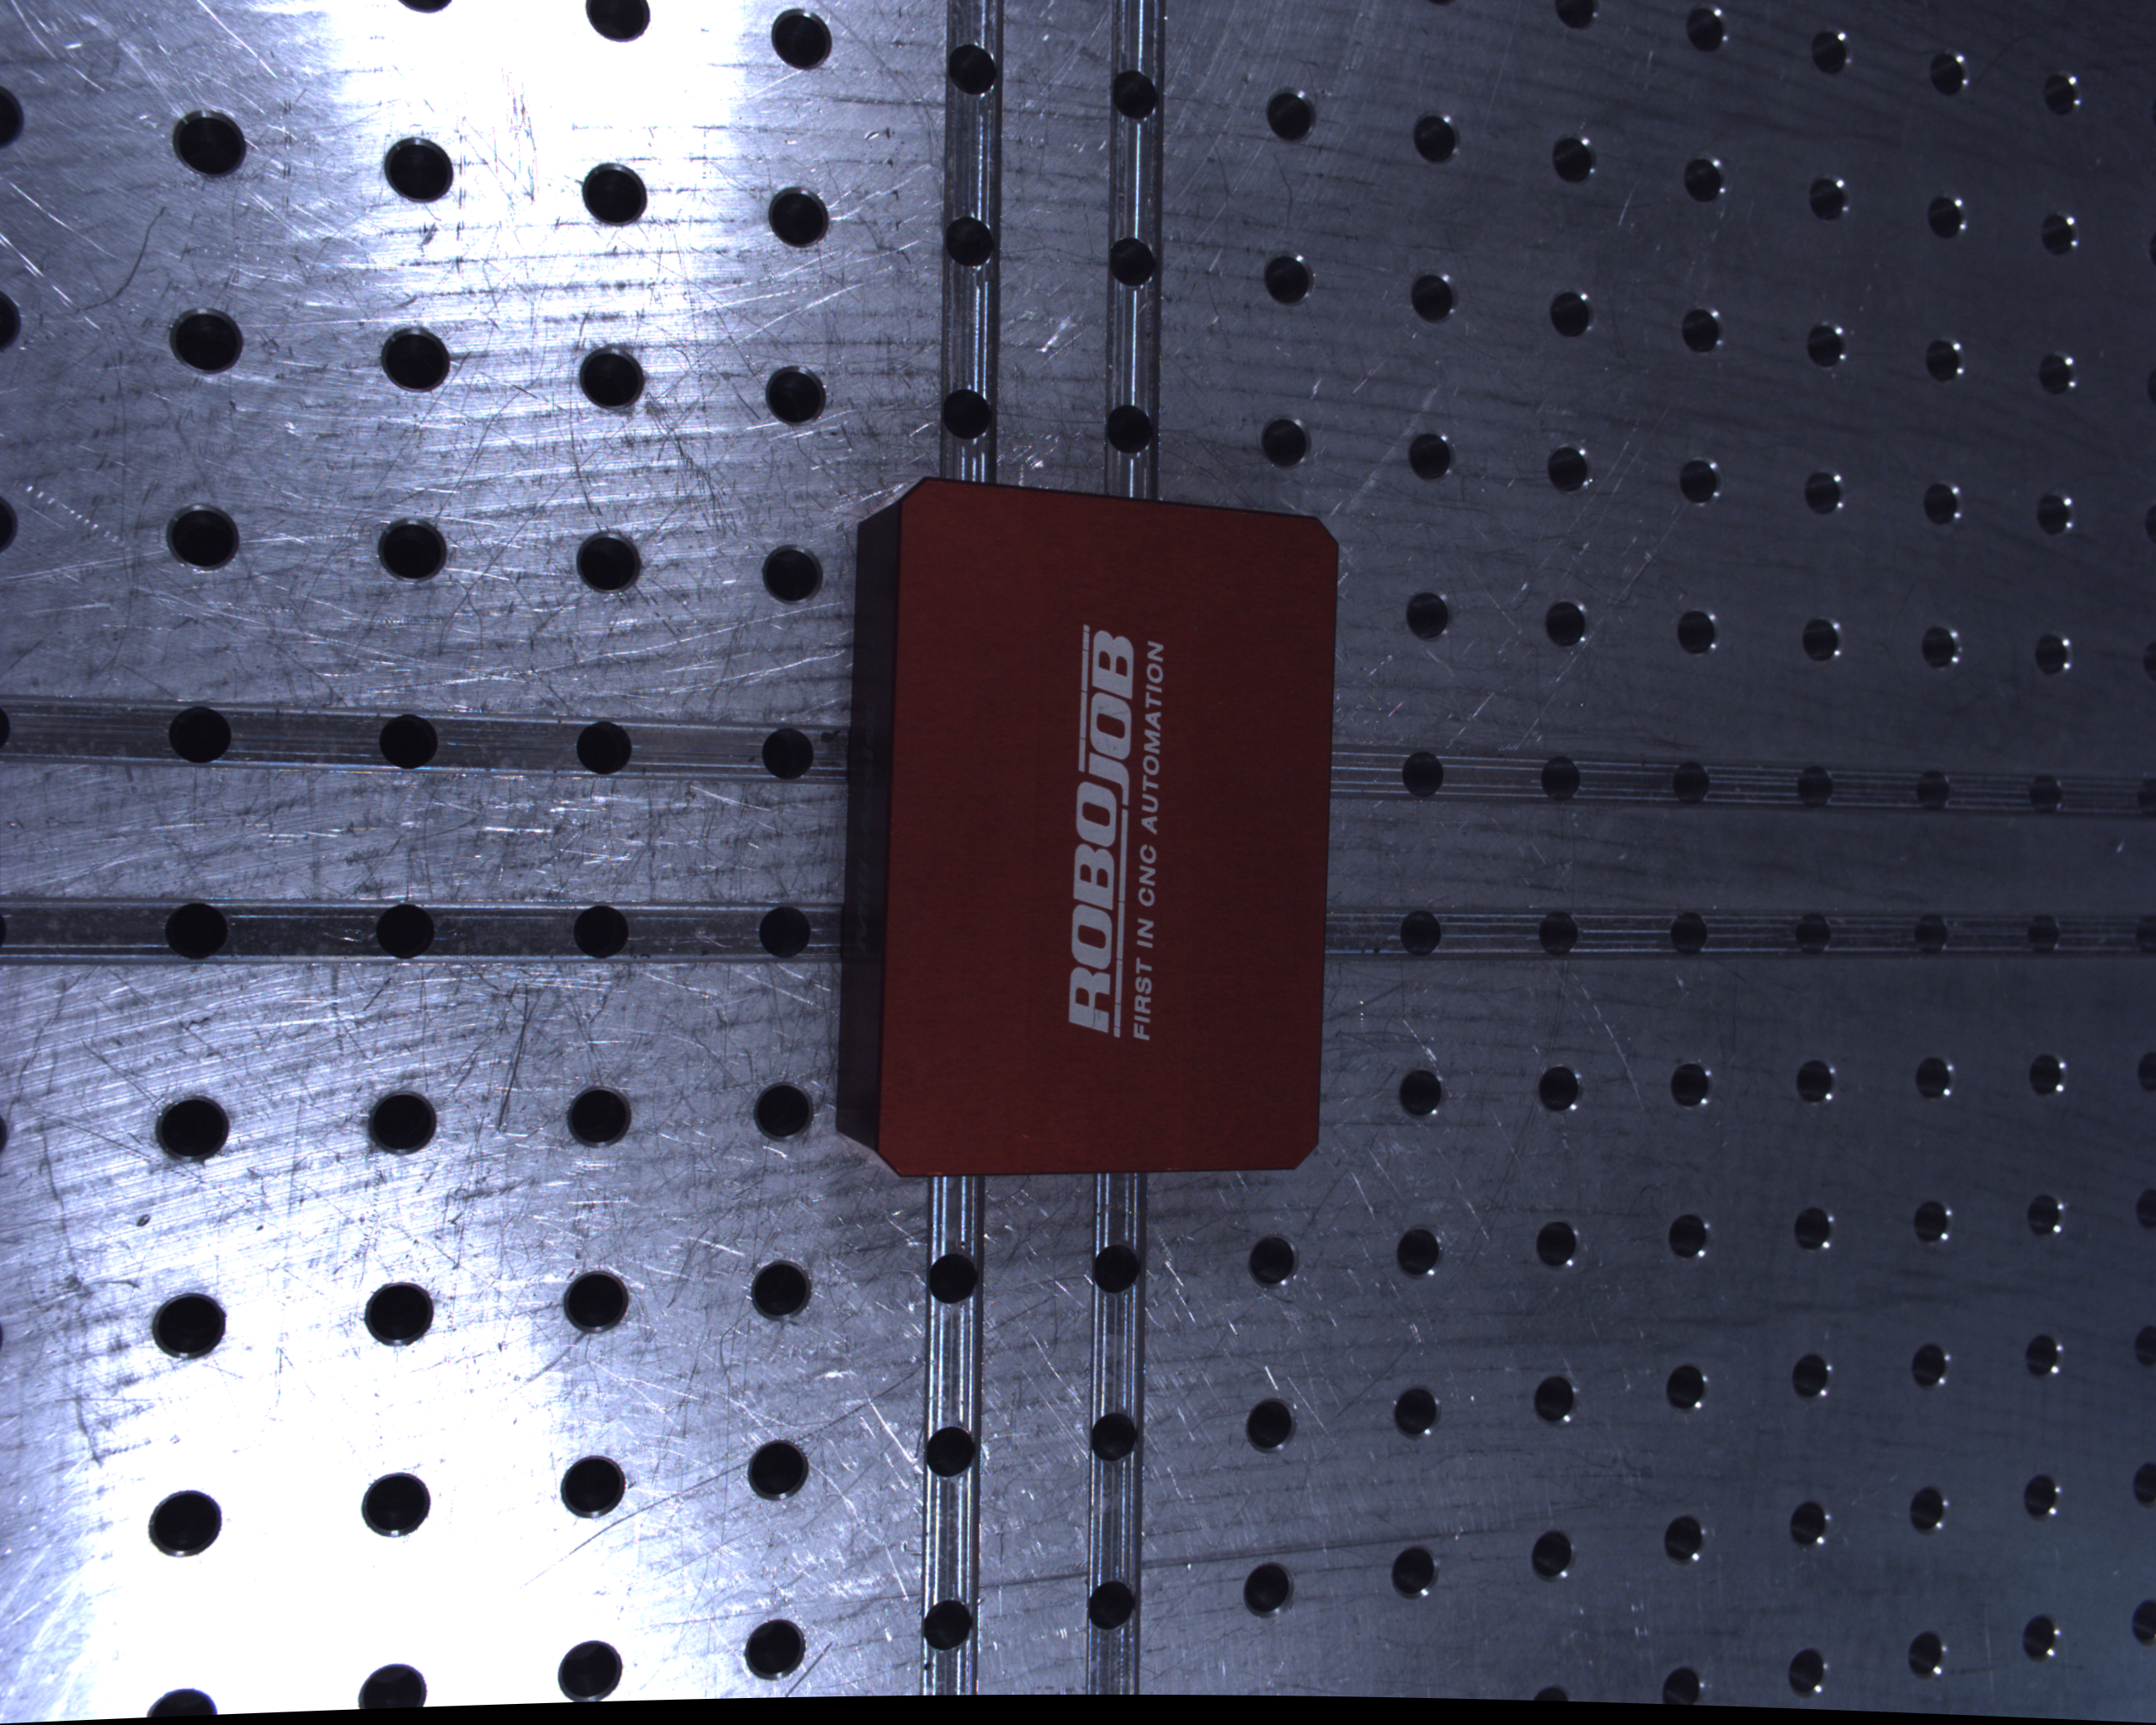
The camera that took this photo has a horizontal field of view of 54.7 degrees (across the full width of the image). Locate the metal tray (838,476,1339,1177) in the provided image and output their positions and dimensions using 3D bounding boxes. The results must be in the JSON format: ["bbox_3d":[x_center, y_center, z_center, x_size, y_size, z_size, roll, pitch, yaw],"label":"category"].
[{"bbox_3d":[0.002,-0.006,0.411,0.091,0.030,0.129,2,89,-21],"label":"metal tray"}]
